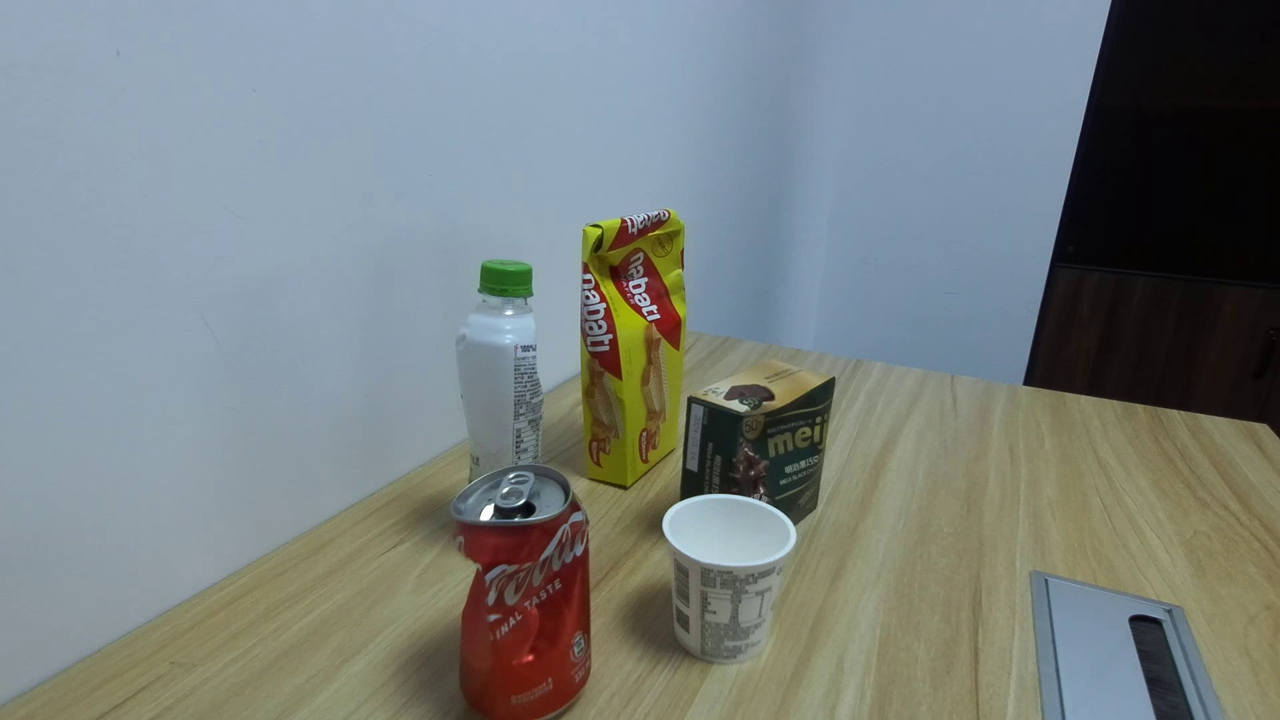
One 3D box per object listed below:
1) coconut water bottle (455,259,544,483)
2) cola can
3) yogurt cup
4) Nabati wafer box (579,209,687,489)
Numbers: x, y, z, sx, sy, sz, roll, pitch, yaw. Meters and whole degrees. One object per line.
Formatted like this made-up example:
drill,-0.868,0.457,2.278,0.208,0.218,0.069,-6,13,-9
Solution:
coconut water bottle,-0.086,0.032,0.450,0.069,0.187,0.069,1,16,0
cola can,-0.056,0.112,0.342,0.069,0.112,0.065,-15,24,-41
yogurt cup,0.047,0.121,0.387,0.072,0.068,0.072,1,20,0
Nabati wafer box,-0.002,-0.009,0.557,0.042,0.205,0.114,11,21,29
